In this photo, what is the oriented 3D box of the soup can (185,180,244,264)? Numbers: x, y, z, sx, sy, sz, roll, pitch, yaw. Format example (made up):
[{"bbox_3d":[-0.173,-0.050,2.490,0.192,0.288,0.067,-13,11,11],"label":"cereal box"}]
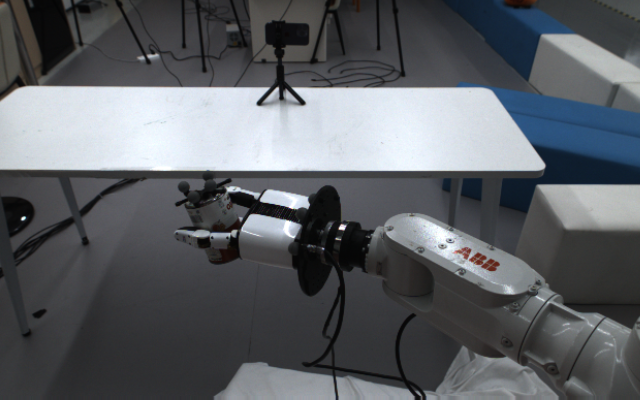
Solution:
[{"bbox_3d":[-0.155,0.039,0.735,0.067,0.101,0.067,-16,23,7],"label":"soup can"}]
